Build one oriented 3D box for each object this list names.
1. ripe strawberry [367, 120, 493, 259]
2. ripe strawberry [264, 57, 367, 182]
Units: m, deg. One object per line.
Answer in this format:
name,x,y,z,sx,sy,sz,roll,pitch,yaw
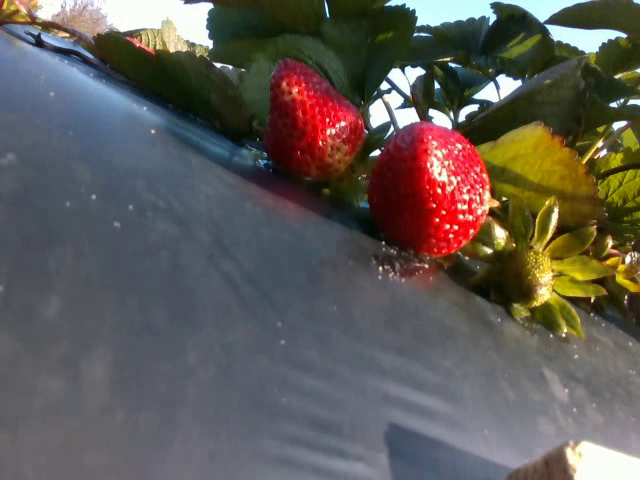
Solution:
ripe strawberry,0.033,-0.019,0.179,0.038,0.043,0.053,-39,-19,1
ripe strawberry,-0.003,-0.044,0.233,0.039,0.054,0.048,-26,19,33
